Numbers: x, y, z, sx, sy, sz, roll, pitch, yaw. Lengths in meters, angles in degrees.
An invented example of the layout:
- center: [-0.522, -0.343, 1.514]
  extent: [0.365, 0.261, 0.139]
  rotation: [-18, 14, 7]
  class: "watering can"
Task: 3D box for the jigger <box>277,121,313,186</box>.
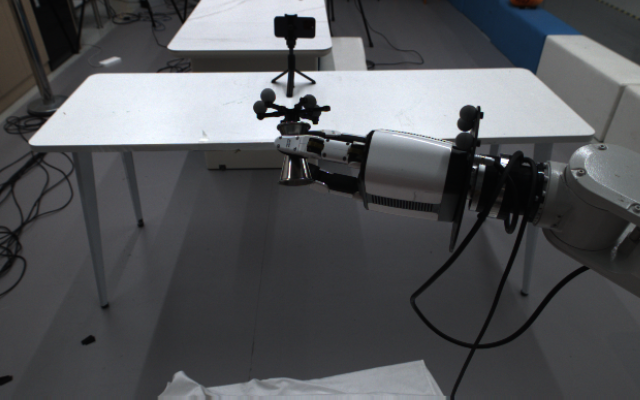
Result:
- center: [-0.030, -0.053, 0.564]
  extent: [0.043, 0.071, 0.043]
  rotation: [-2, -7, 0]
  class: "jigger"
